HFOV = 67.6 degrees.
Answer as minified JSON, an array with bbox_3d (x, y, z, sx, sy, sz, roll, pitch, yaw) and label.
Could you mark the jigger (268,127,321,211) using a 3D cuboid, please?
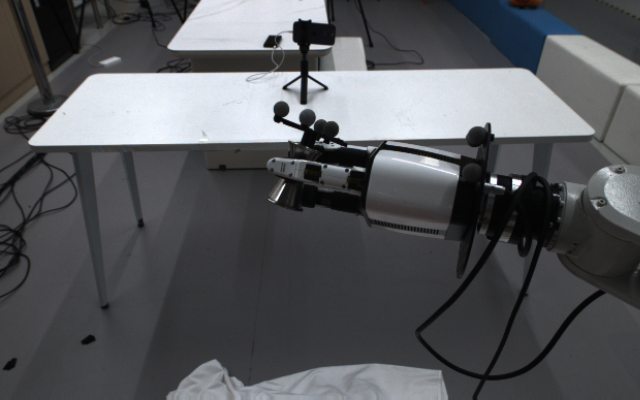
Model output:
[{"bbox_3d":[-0.028,-0.027,0.527,0.043,0.071,0.043,22,6,-2],"label":"jigger"}]
